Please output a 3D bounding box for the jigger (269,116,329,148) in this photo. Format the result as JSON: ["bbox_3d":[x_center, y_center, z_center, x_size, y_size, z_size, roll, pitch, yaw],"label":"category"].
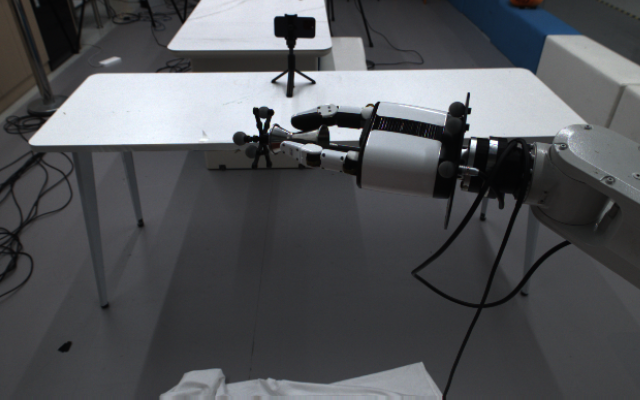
[{"bbox_3d":[-0.019,-0.081,0.615,0.071,0.043,0.043,5,34,20],"label":"jigger"}]
